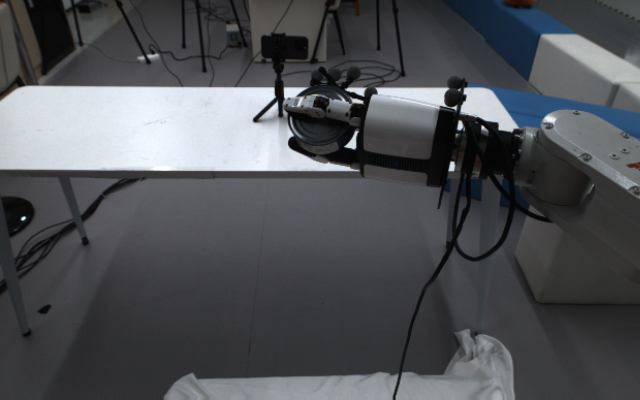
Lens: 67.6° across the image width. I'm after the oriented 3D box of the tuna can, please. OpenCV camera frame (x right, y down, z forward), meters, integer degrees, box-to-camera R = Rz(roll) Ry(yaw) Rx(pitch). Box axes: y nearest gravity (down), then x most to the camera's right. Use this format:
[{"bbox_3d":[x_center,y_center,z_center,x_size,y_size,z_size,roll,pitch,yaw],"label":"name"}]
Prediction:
[{"bbox_3d":[0.003,-0.104,0.623,0.085,0.034,0.085,-4,67,10],"label":"tuna can"}]
